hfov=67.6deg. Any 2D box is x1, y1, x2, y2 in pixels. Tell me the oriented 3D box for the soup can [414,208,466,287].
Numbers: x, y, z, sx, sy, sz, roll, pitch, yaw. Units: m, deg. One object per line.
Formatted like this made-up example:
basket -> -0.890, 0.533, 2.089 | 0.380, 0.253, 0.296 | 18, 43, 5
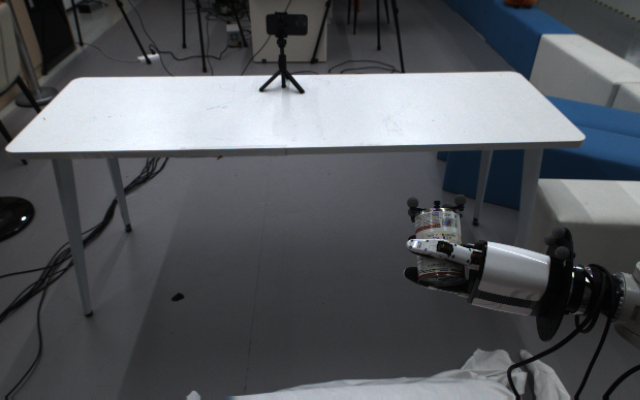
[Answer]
soup can -> 0.177, 0.070, 0.710 | 0.067, 0.067, 0.101 | 1, 69, -1
